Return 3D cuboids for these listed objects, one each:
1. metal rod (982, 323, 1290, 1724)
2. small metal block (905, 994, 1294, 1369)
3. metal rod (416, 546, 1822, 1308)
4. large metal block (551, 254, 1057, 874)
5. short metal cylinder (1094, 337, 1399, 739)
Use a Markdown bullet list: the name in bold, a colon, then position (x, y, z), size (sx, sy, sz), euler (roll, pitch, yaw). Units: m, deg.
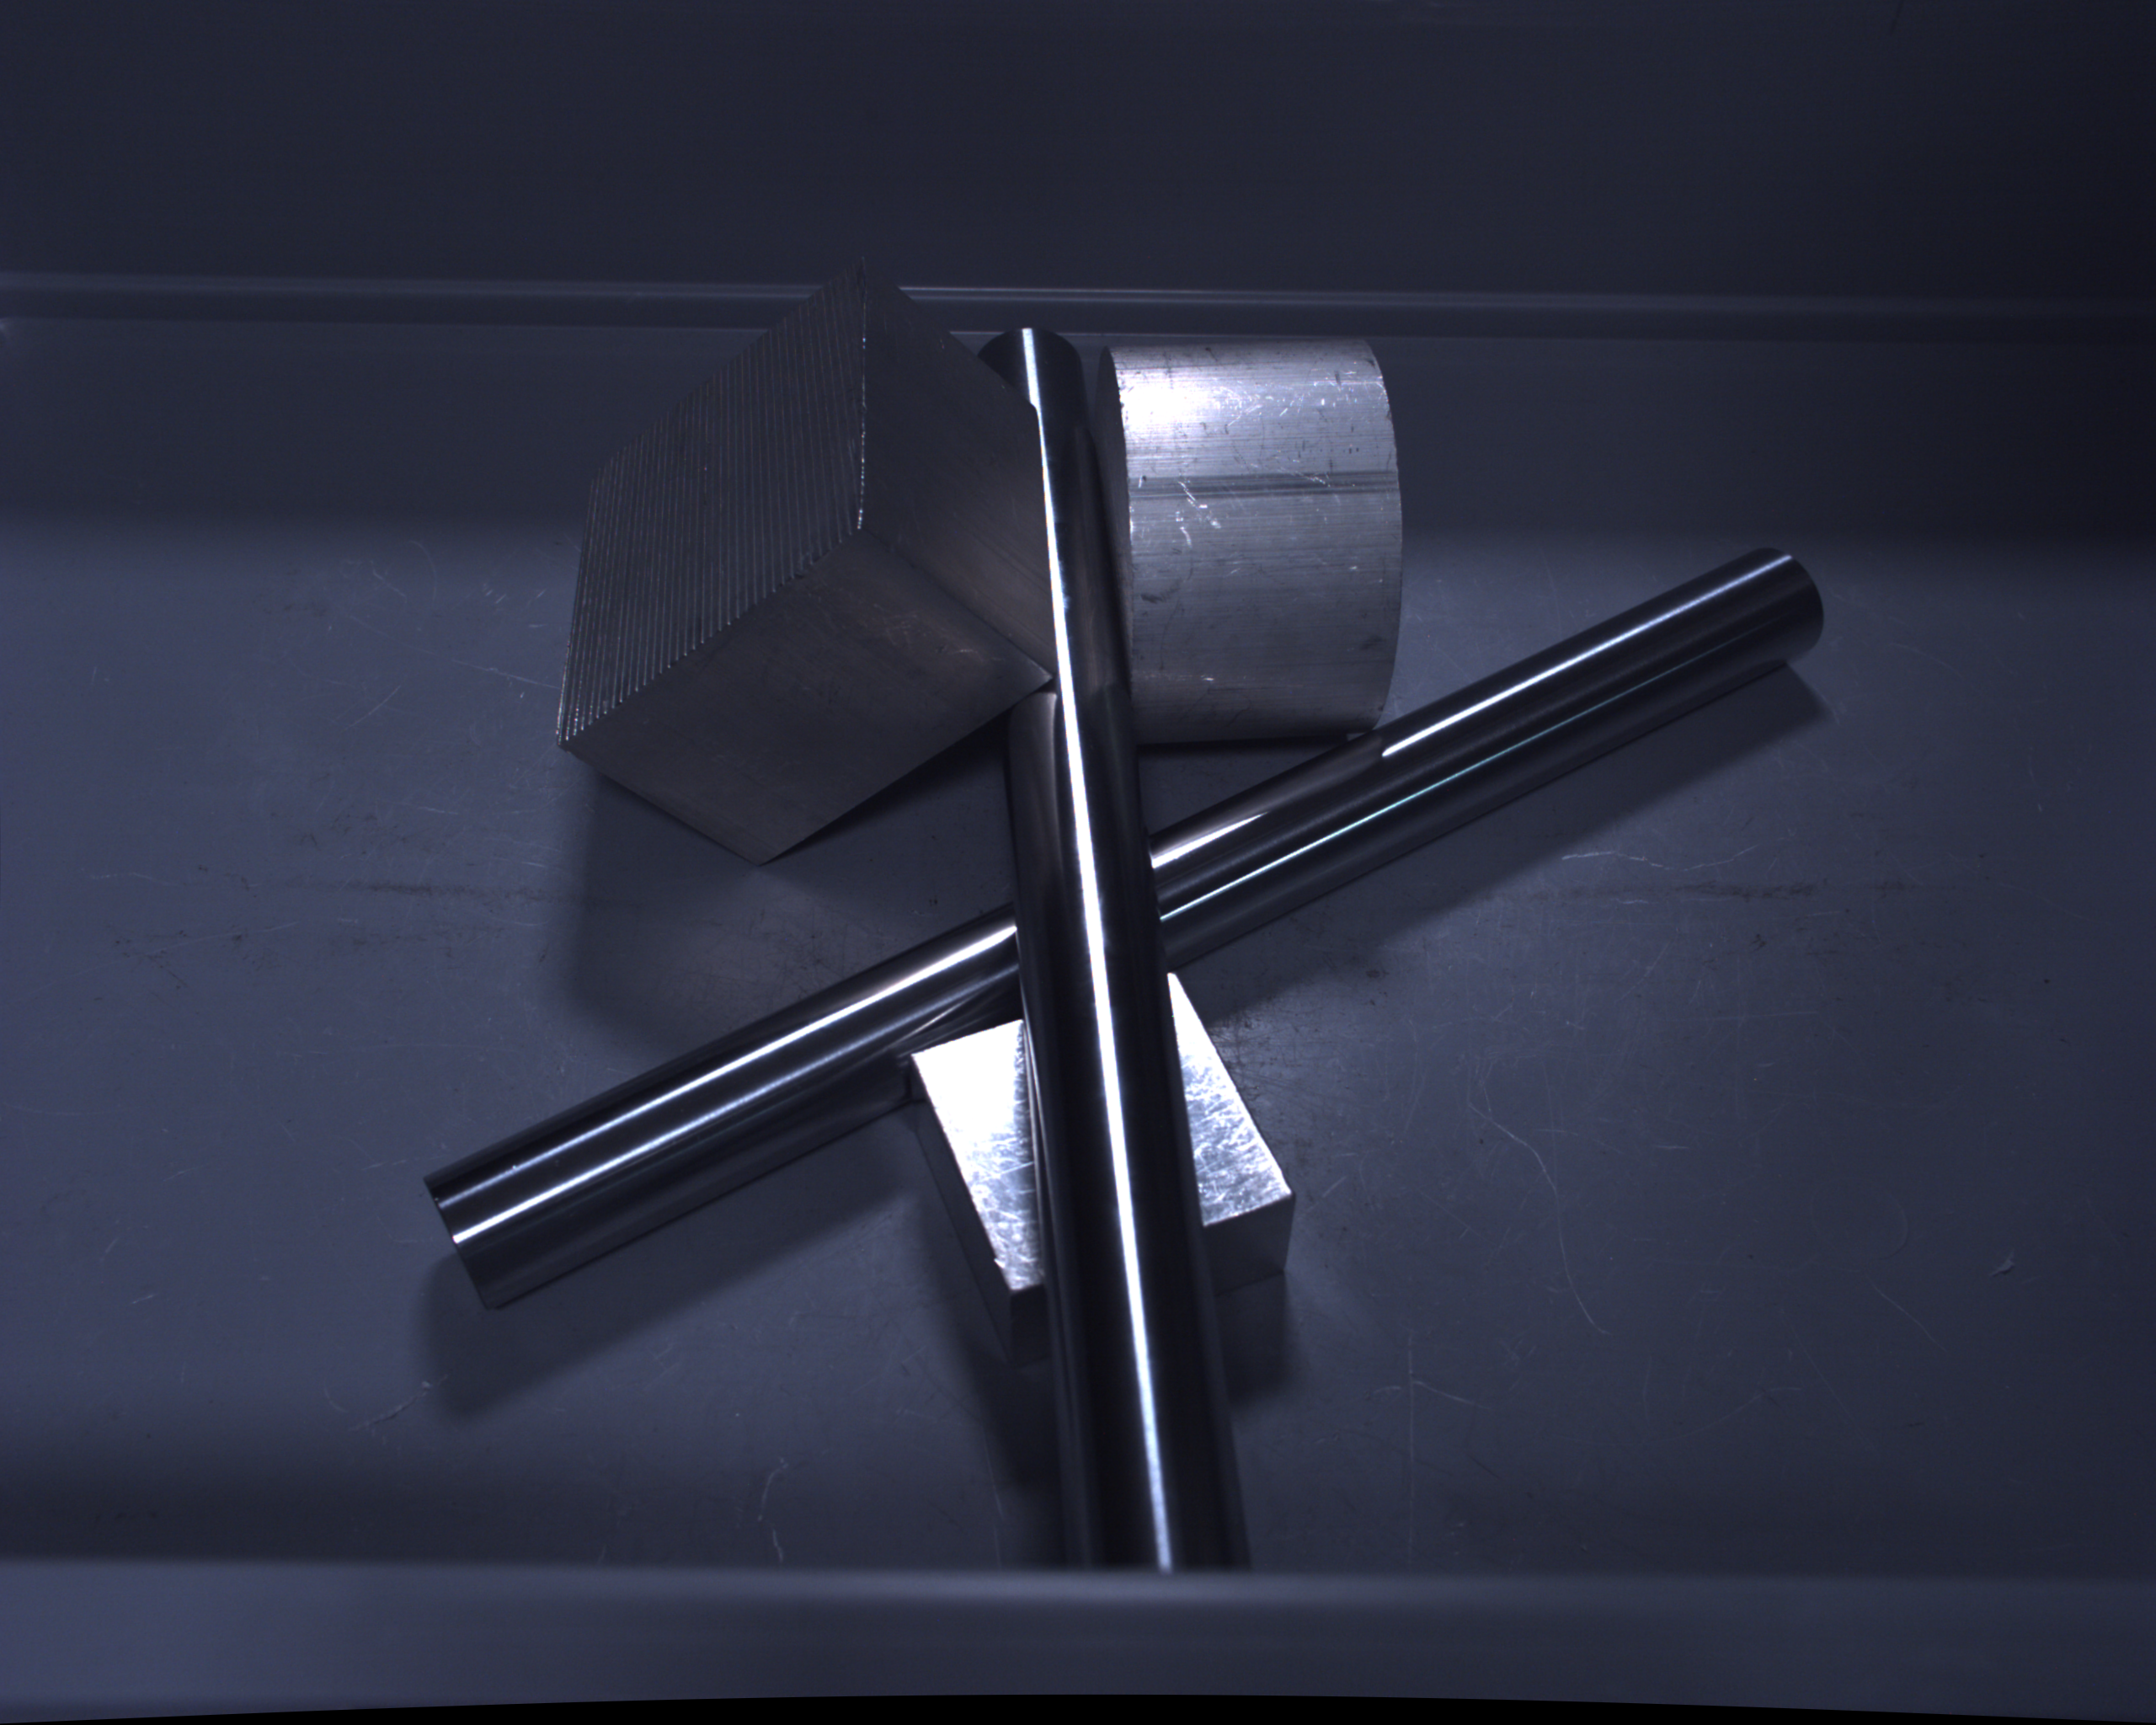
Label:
- **metal rod**: position (0.002, 0.003, 0.367), size (0.025, 0.025, 0.300), euler (-4, 49, -3)
- **small metal block**: position (0.003, 0.052, 0.360), size (0.050, 0.025, 0.050), euler (-17, 52, -14)
- **metal rod**: position (0.023, 0.003, 0.400), size (0.302, 0.025, 0.025), euler (-25, 55, -20)
- **large metal block**: position (-0.053, -0.057, 0.409), size (0.080, 0.050, 0.080), euler (-31, 44, 27)
- **short metal cylinder**: position (0.031, -0.065, 0.422), size (0.050, 0.080, 0.080), euler (-2, 50, -4)
